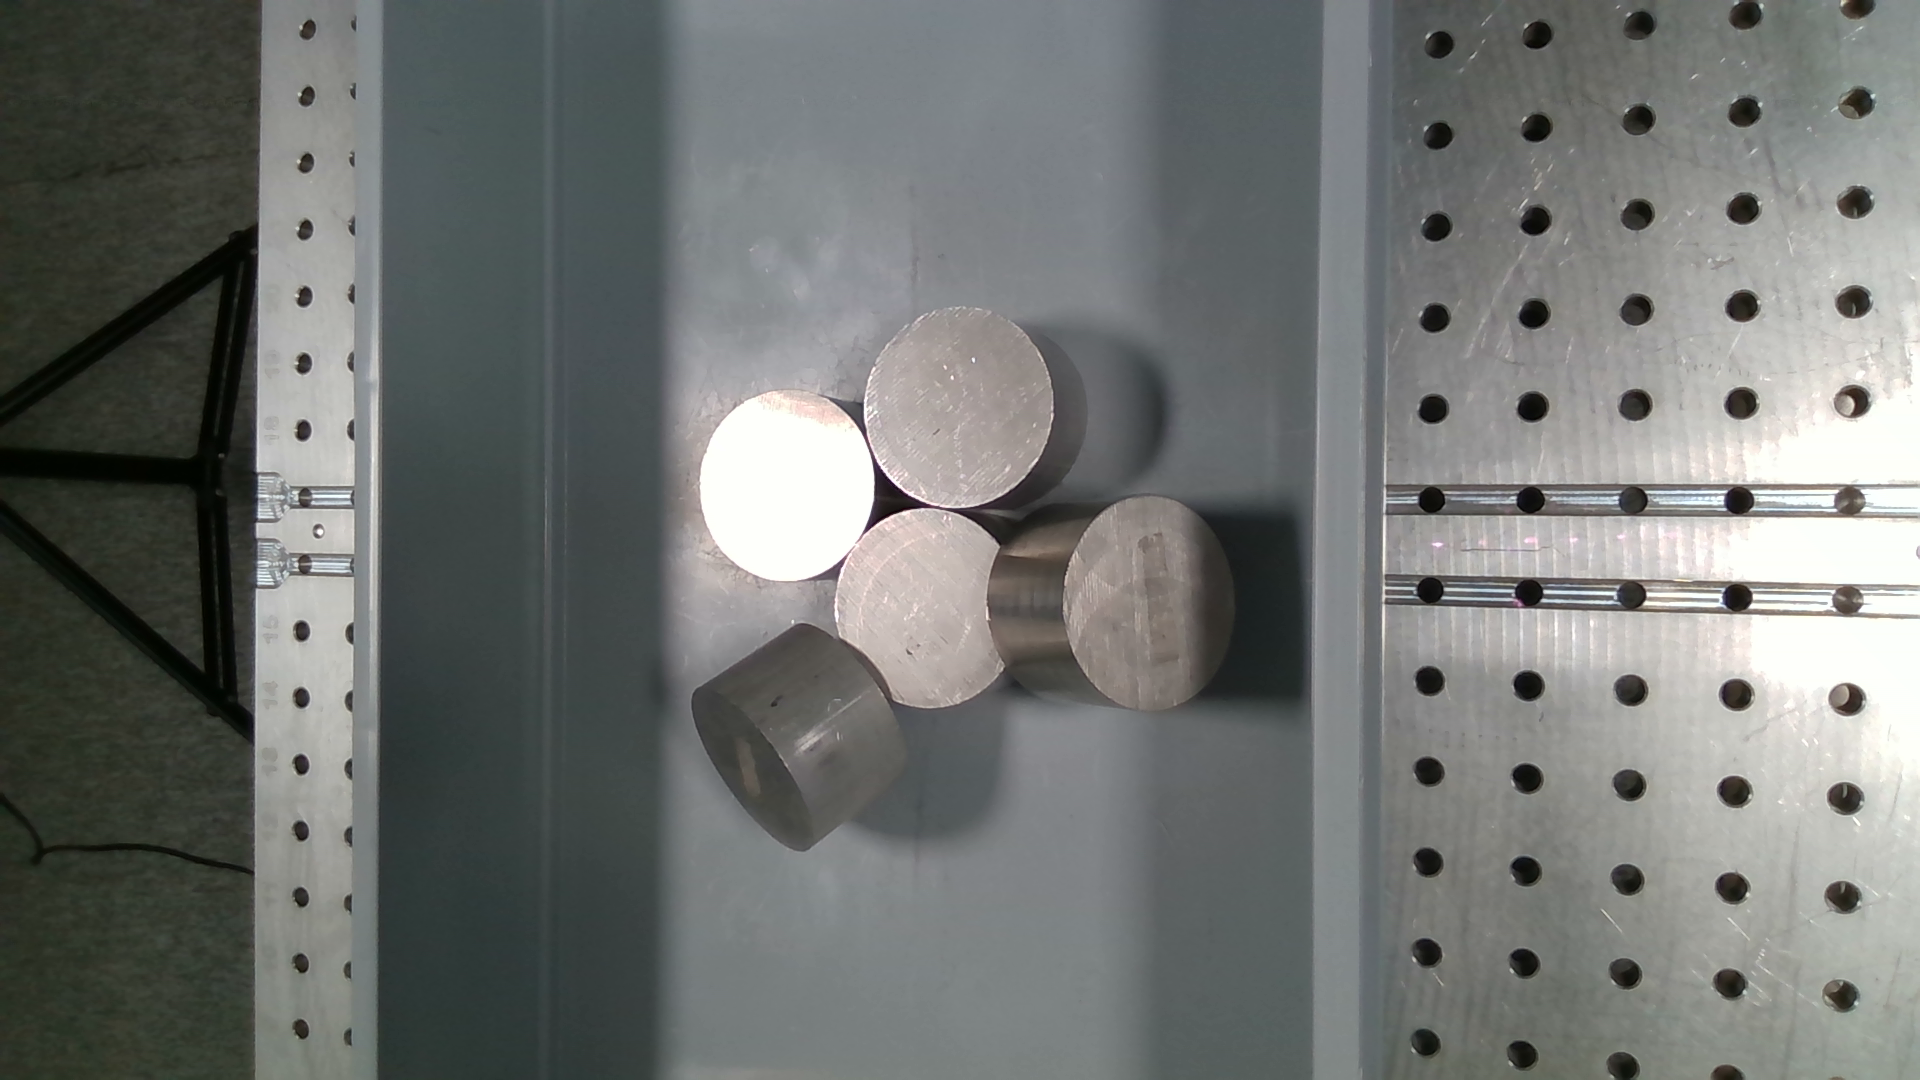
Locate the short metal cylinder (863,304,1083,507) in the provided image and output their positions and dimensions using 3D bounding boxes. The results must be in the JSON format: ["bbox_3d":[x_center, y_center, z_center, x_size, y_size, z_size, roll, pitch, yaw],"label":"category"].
[{"bbox_3d":[0.007,-0.053,0.567,0.080,0.050,0.080,0,90,20],"label":"short metal cylinder"}]

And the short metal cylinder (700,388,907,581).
[{"bbox_3d":[-0.064,-0.023,0.594,0.080,0.050,0.080,0,90,20],"label":"short metal cylinder"}]

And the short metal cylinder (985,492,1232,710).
[{"bbox_3d":[0.057,0.023,0.527,0.050,0.080,0.080,-4,89,59],"label":"short metal cylinder"}]

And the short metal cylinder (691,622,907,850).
[{"bbox_3d":[-0.068,0.081,0.575,0.080,0.050,0.080,36,145,31],"label":"short metal cylinder"}]

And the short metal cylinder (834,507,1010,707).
[{"bbox_3d":[-0.005,0.027,0.573,0.080,0.050,0.080,0,90,20],"label":"short metal cylinder"}]
